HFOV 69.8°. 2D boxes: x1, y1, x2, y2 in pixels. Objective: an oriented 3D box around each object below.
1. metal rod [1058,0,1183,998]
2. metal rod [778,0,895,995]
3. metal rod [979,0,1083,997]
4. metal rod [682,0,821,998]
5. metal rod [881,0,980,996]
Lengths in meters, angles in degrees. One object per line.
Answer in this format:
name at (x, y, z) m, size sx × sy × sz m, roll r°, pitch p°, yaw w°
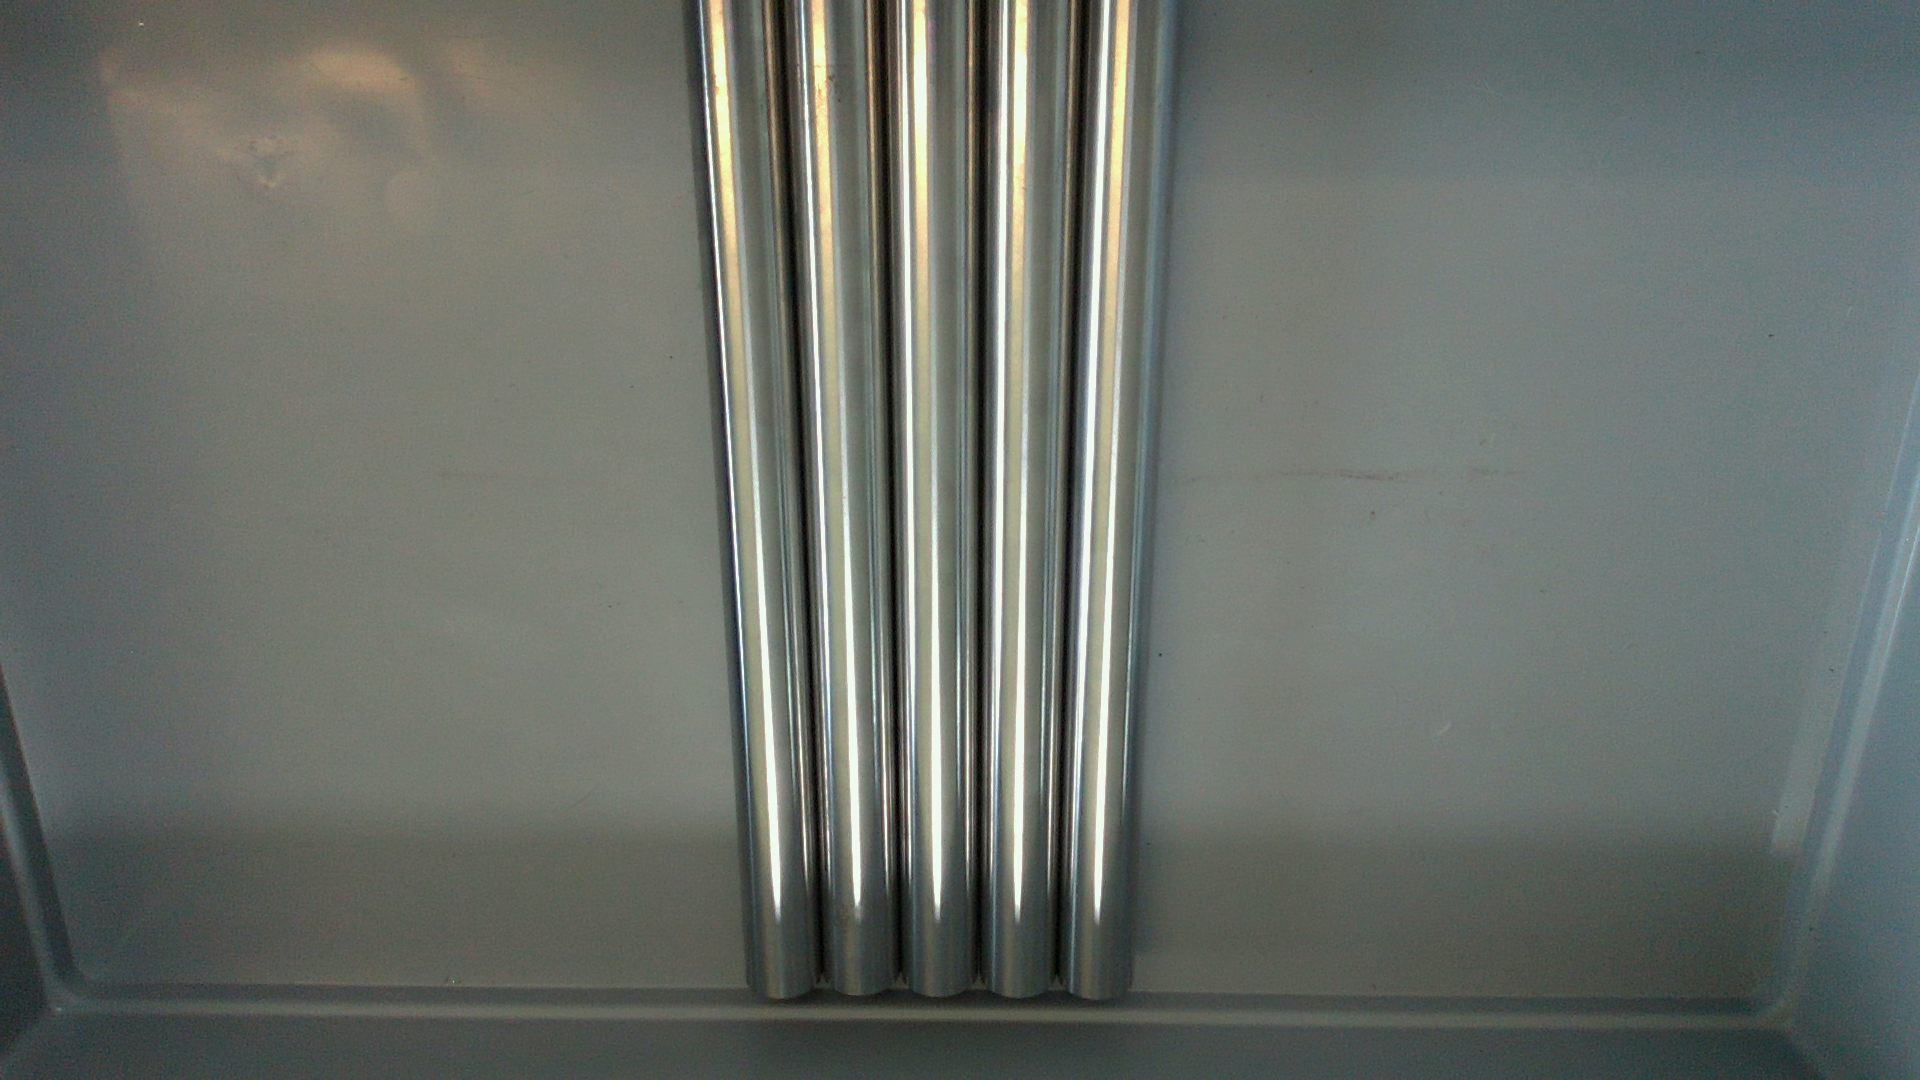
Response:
metal rod at (0.043, -0.001, 0.393) m, size 0.025 × 0.025 × 0.300 m, roll 0°, pitch 110°, yaw 0°
metal rod at (-0.033, -0.002, 0.392) m, size 0.025 × 0.025 × 0.300 m, roll 0°, pitch 110°, yaw 0°
metal rod at (0.018, -0.001, 0.393) m, size 0.025 × 0.025 × 0.300 m, roll 0°, pitch 110°, yaw 0°
metal rod at (-0.057, -0.001, 0.392) m, size 0.025 × 0.025 × 0.300 m, roll 0°, pitch 110°, yaw 0°
metal rod at (-0.007, -0.002, 0.392) m, size 0.025 × 0.025 × 0.300 m, roll 0°, pitch 110°, yaw 0°
